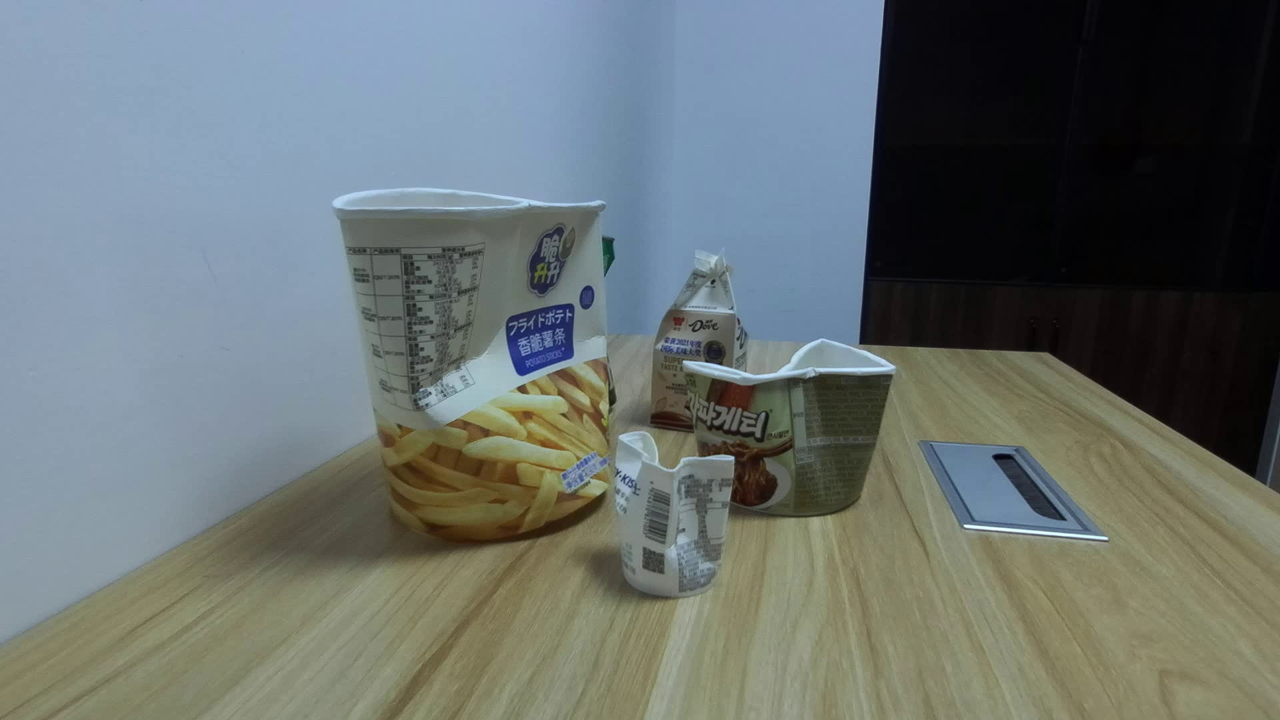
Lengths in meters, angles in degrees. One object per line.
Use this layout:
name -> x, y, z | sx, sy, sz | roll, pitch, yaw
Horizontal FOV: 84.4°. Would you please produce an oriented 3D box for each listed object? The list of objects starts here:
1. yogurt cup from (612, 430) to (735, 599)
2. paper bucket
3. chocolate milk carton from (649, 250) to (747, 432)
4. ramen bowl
yogurt cup -> 0.015, 0.078, 0.367 | 0.055, 0.072, 0.054 | -8, 17, -21
paper bucket -> -0.089, -0.006, 0.455 | 0.148, 0.199, 0.217 | -1, 13, -7
chocolate milk carton -> 0.057, -0.021, 0.614 | 0.073, 0.155, 0.076 | 7, 16, 19
ramen bowl -> 0.092, 0.042, 0.481 | 0.128, 0.093, 0.111 | -4, 14, -16
